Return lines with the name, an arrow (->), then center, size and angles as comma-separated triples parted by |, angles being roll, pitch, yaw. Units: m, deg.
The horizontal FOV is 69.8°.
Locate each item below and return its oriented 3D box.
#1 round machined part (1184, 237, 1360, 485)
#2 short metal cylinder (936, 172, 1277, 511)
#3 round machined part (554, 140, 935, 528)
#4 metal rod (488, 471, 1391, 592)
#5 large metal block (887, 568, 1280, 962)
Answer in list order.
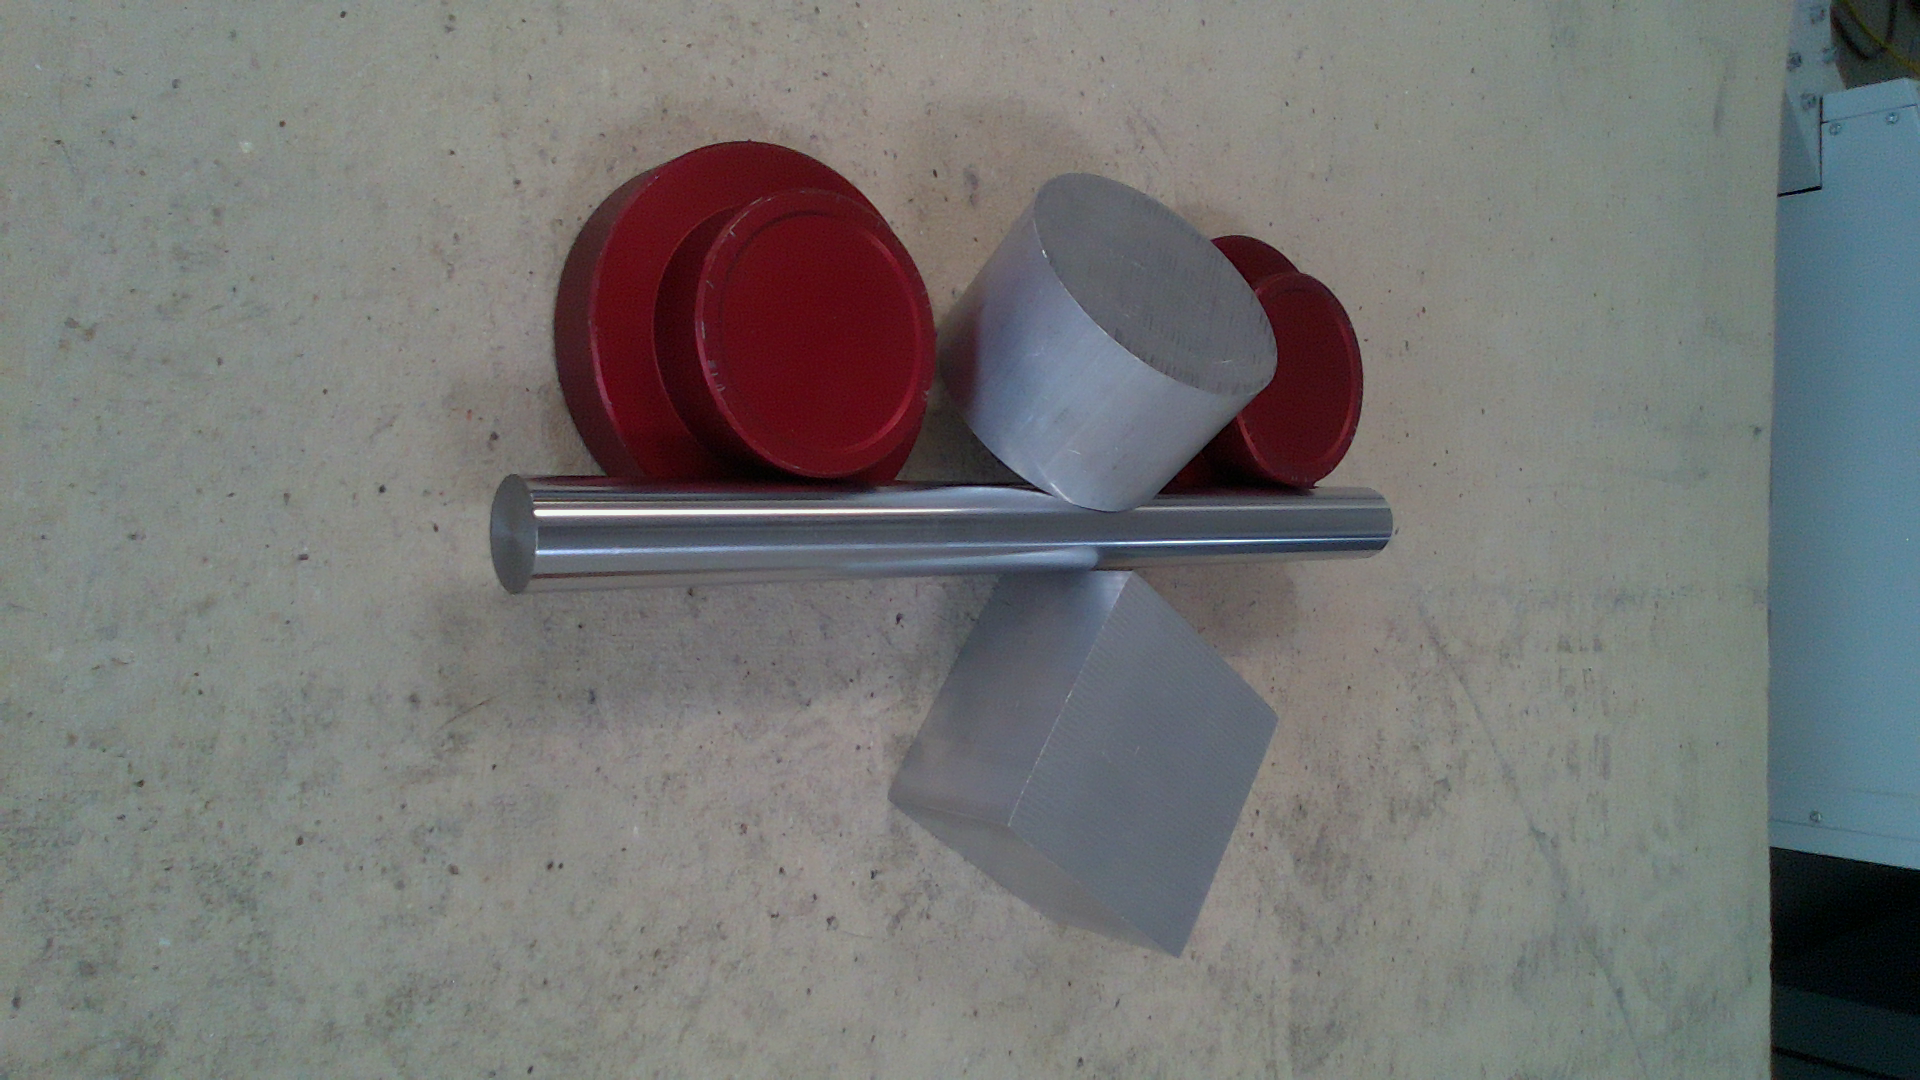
round machined part -> 0.096, -0.052, 0.458 | 0.098, 0.042, 0.098 | 0, 90, -40
short metal cylinder -> 0.040, -0.055, 0.382 | 0.080, 0.050, 0.080 | 22, 43, -22
round machined part -> -0.045, -0.049, 0.339 | 0.098, 0.042, 0.098 | 0, 90, -40
metal rod -> 0.023, -0.004, 0.380 | 0.301, 0.025, 0.025 | -1, 91, -40
large metal block -> 0.038, 0.063, 0.402 | 0.080, 0.050, 0.080 | 43, 64, -32
